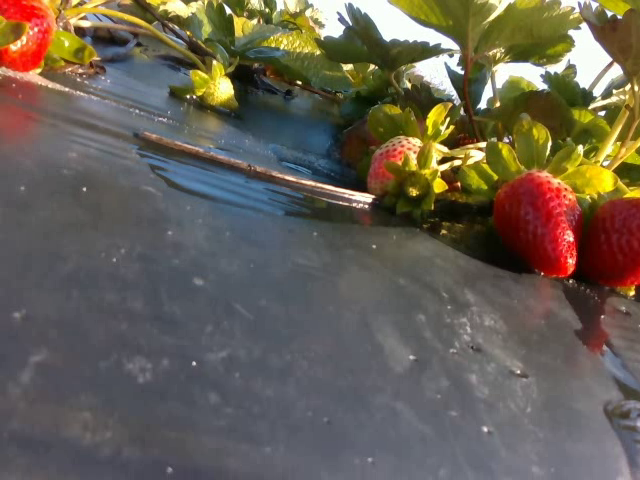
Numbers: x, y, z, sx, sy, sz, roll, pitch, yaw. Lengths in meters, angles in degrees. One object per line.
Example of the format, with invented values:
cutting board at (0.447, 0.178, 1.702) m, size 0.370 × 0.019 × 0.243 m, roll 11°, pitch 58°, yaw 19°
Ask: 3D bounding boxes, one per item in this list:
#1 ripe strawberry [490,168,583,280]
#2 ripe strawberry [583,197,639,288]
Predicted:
ripe strawberry at (0.072, -0.006, 0.193) m, size 0.031 × 0.023 × 0.046 m, roll 15°, pitch 40°, yaw -12°
ripe strawberry at (0.102, -0.003, 0.195) m, size 0.030 × 0.037 × 0.039 m, roll 24°, pitch -11°, yaw -6°
